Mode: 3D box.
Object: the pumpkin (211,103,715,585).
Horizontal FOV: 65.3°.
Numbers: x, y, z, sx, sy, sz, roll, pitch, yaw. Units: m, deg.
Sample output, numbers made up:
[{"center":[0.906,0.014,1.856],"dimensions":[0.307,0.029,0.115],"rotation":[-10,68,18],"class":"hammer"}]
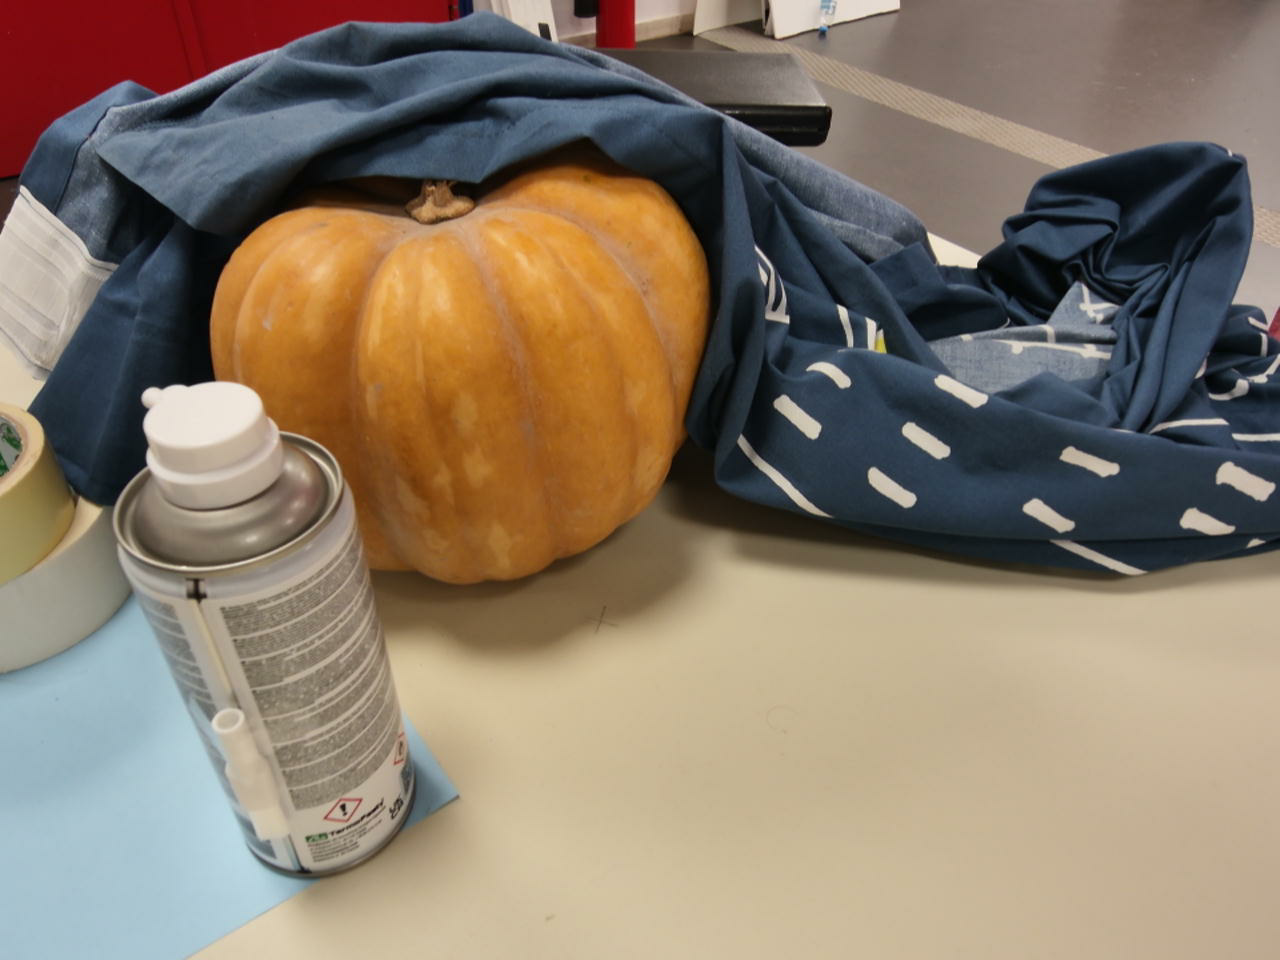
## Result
[{"center":[-0.076,-0.061,0.467],"dimensions":[0.230,0.194,0.230],"rotation":[0,38,0],"class":"pumpkin"}]
